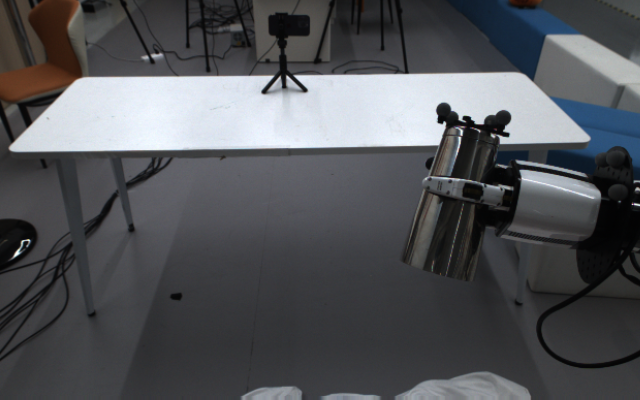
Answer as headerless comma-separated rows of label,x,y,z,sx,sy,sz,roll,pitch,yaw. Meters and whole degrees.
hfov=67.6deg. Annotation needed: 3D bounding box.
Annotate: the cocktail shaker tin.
cocktail shaker tin,0.162,0.001,0.585,0.093,0.170,0.093,14,2,0
